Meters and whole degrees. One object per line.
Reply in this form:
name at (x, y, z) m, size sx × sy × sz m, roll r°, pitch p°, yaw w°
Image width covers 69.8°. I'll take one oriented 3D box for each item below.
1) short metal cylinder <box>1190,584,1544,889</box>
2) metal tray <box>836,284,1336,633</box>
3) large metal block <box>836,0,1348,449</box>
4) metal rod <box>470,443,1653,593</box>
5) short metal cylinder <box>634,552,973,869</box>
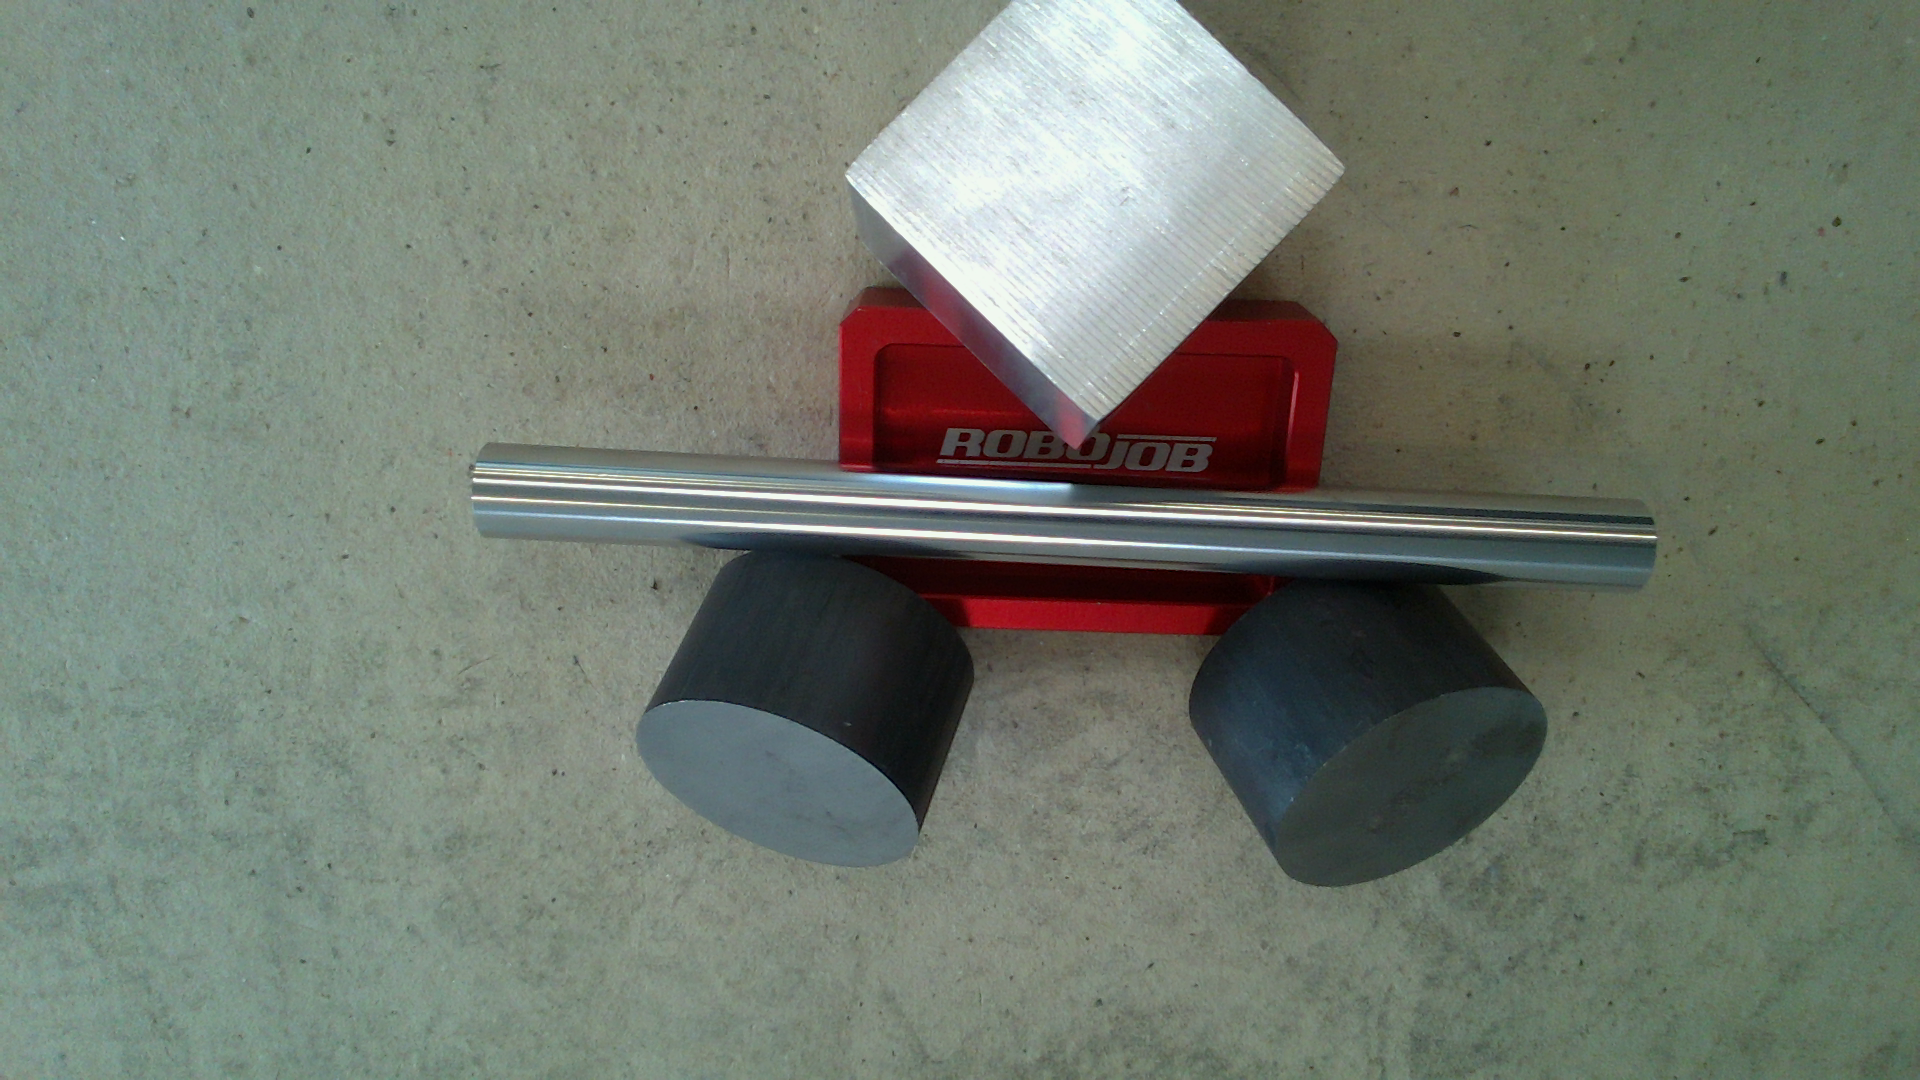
short metal cylinder at (0.112, 0.052, 0.383) m, size 0.080 × 0.050 × 0.080 m, roll -13°, pitch 134°, yaw -14°
metal tray at (0.032, -0.022, 0.384) m, size 0.130 × 0.030 × 0.090 m, roll 2°, pitch 110°, yaw -1°
large metal block at (0.029, -0.080, 0.328) m, size 0.080 × 0.050 × 0.080 m, roll 45°, pitch 88°, yaw 2°
metal rod at (0.027, -0.006, 0.360) m, size 0.300 × 0.025 × 0.025 m, roll 3°, pitch 110°, yaw -1°
short metal cylinder at (-0.042, 0.048, 0.379) m, size 0.080 × 0.050 × 0.080 m, roll 14°, pitch 143°, yaw 11°
